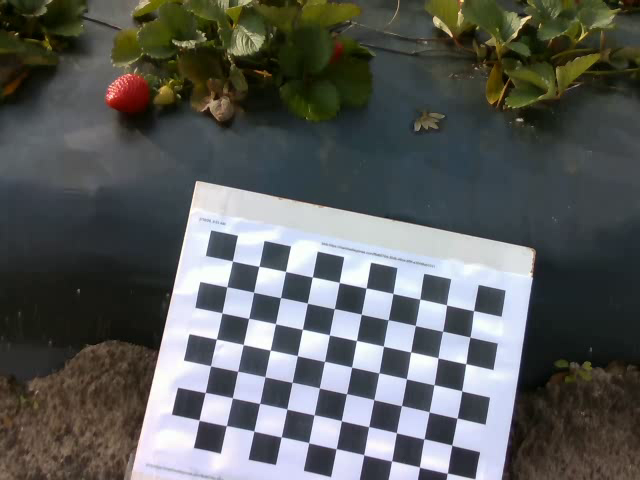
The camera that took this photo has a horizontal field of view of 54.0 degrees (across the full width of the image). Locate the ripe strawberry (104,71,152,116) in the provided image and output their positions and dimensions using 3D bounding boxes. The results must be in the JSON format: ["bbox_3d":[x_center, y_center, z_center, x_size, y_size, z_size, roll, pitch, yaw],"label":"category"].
[{"bbox_3d":[-0.179,-0.146,0.598,0.045,0.051,0.058,15,35,1],"label":"ripe strawberry"}]
